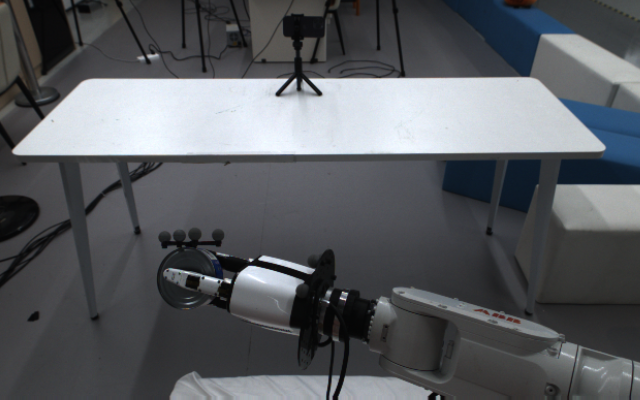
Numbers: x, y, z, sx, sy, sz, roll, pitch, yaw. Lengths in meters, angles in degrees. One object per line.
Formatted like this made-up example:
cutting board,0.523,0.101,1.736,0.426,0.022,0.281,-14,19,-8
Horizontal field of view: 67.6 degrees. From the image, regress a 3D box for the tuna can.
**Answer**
tuna can,-0.174,0.111,0.676,0.085,0.085,0.034,10,-6,11
